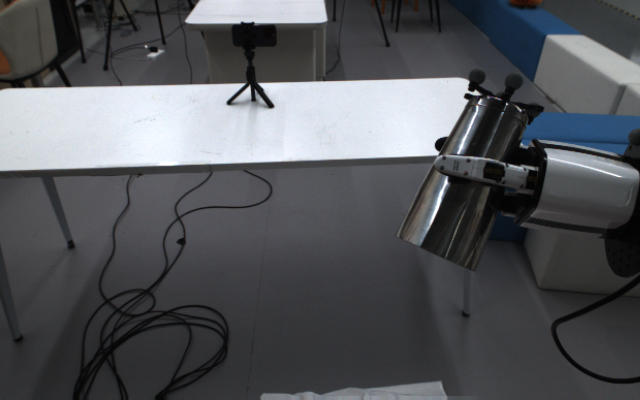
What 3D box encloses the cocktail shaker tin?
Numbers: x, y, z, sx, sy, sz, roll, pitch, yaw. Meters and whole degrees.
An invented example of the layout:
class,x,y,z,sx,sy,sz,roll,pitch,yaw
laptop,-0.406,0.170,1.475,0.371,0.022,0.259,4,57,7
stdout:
class,x,y,z,sx,sy,sz,roll,pitch,yaw
cocktail shaker tin,0.160,-0.022,0.520,0.093,0.170,0.093,23,0,0
